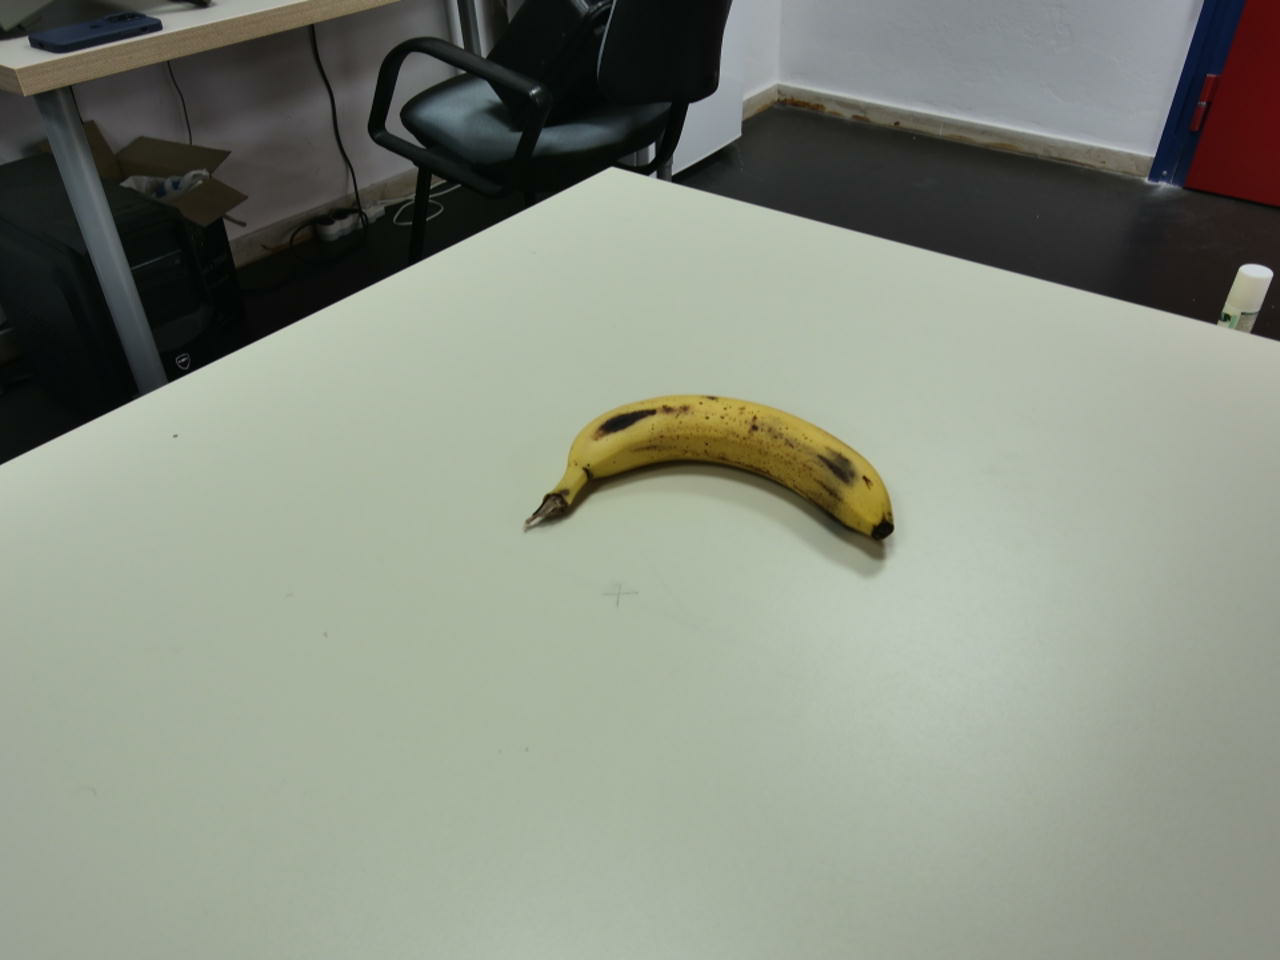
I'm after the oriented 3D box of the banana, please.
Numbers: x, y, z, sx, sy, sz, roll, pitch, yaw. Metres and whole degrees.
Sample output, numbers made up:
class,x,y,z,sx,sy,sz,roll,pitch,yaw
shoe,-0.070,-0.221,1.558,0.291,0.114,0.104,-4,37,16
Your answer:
class,x,y,z,sx,sy,sz,roll,pitch,yaw
banana,0.042,-0.010,0.545,0.186,0.038,0.097,5,37,9
